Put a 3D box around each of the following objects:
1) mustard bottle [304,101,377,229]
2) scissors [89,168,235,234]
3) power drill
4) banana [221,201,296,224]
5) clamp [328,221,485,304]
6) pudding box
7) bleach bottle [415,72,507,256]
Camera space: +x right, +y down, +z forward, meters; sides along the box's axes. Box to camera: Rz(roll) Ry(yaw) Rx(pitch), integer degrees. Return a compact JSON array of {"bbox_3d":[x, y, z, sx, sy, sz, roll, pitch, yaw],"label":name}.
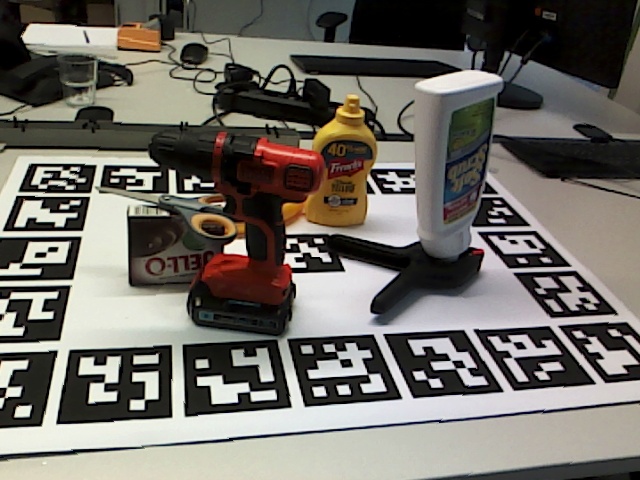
[{"bbox_3d":[0.033,-0.109,0.906,0.096,0.191,0.058,8,30,-1],"label":"mustard bottle"},{"bbox_3d":[-0.183,-0.056,0.734,0.203,0.016,0.088,16,35,6],"label":"scissors"},{"bbox_3d":[-0.098,-0.020,0.665,0.184,0.186,0.057,4,23,0],"label":"power drill"},{"bbox_3d":[-0.082,-0.060,0.928,0.075,0.039,0.196,10,26,39],"label":"banana"},{"bbox_3d":[0.129,0.021,0.821,0.202,0.036,0.166,-3,34,-19],"label":"clamp"},{"bbox_3d":[-0.180,0.003,0.762,0.113,0.090,0.039,2,24,-9],"label":"pudding box"},{"bbox_3d":[0.172,-0.077,0.789,0.102,0.250,0.068,-17,34,-24],"label":"bleach bottle"}]
